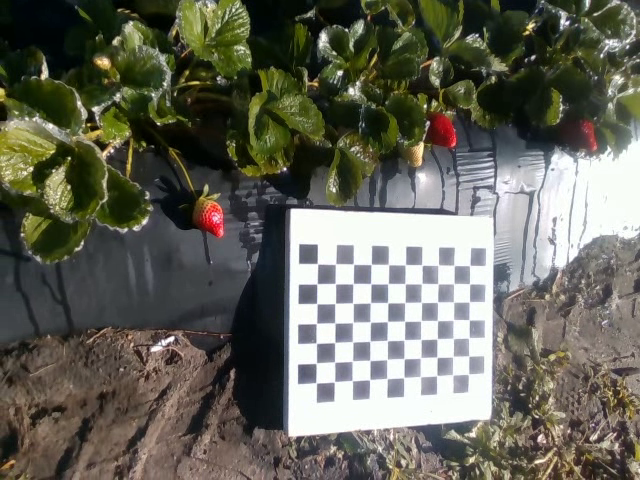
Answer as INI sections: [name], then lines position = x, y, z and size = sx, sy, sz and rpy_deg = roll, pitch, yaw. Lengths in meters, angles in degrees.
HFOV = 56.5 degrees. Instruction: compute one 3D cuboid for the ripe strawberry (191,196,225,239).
[ripe strawberry]
position = -0.121, -0.024, 0.659
size = 0.039, 0.053, 0.041
rpy_deg = -22, -9, -19
